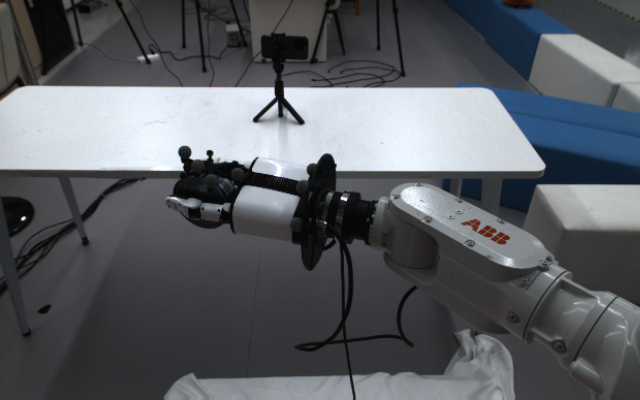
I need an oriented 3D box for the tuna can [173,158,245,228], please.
[{"bbox_3d":[-0.159,-0.003,0.680,0.085,0.085,0.034,12,33,14],"label":"tuna can"}]
